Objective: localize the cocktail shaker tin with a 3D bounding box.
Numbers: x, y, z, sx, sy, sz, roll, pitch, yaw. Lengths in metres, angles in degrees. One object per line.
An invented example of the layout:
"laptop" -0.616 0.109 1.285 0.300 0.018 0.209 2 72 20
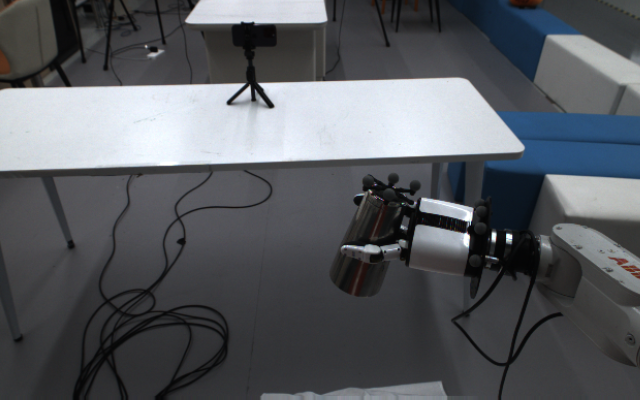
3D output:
"cocktail shaker tin" 0.083 0.058 0.776 0.093 0.170 0.093 12 29 -7
